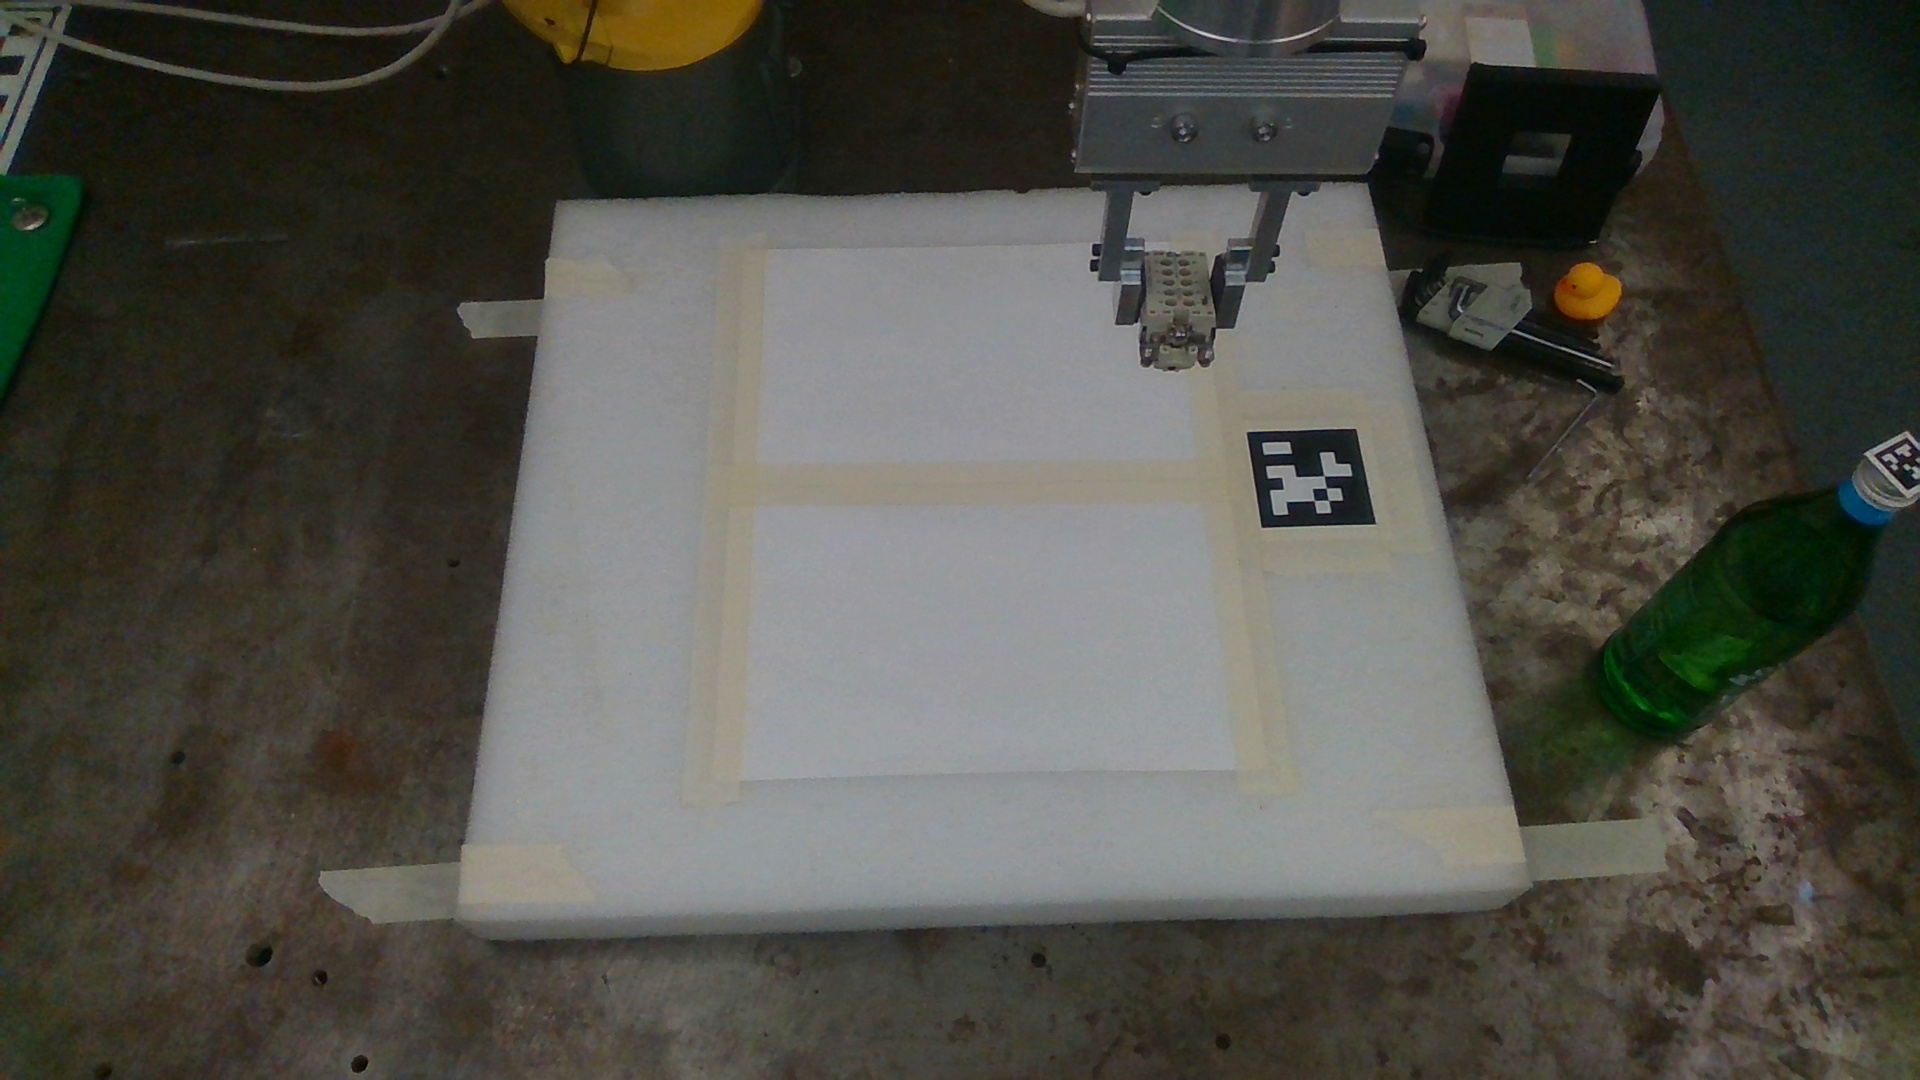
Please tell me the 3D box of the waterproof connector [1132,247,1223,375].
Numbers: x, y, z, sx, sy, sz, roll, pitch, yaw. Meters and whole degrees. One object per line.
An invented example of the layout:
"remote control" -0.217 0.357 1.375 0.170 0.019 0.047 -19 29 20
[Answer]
"waterproof connector" 0.101 -0.108 0.654 0.037 0.038 0.069 0 51 -1
